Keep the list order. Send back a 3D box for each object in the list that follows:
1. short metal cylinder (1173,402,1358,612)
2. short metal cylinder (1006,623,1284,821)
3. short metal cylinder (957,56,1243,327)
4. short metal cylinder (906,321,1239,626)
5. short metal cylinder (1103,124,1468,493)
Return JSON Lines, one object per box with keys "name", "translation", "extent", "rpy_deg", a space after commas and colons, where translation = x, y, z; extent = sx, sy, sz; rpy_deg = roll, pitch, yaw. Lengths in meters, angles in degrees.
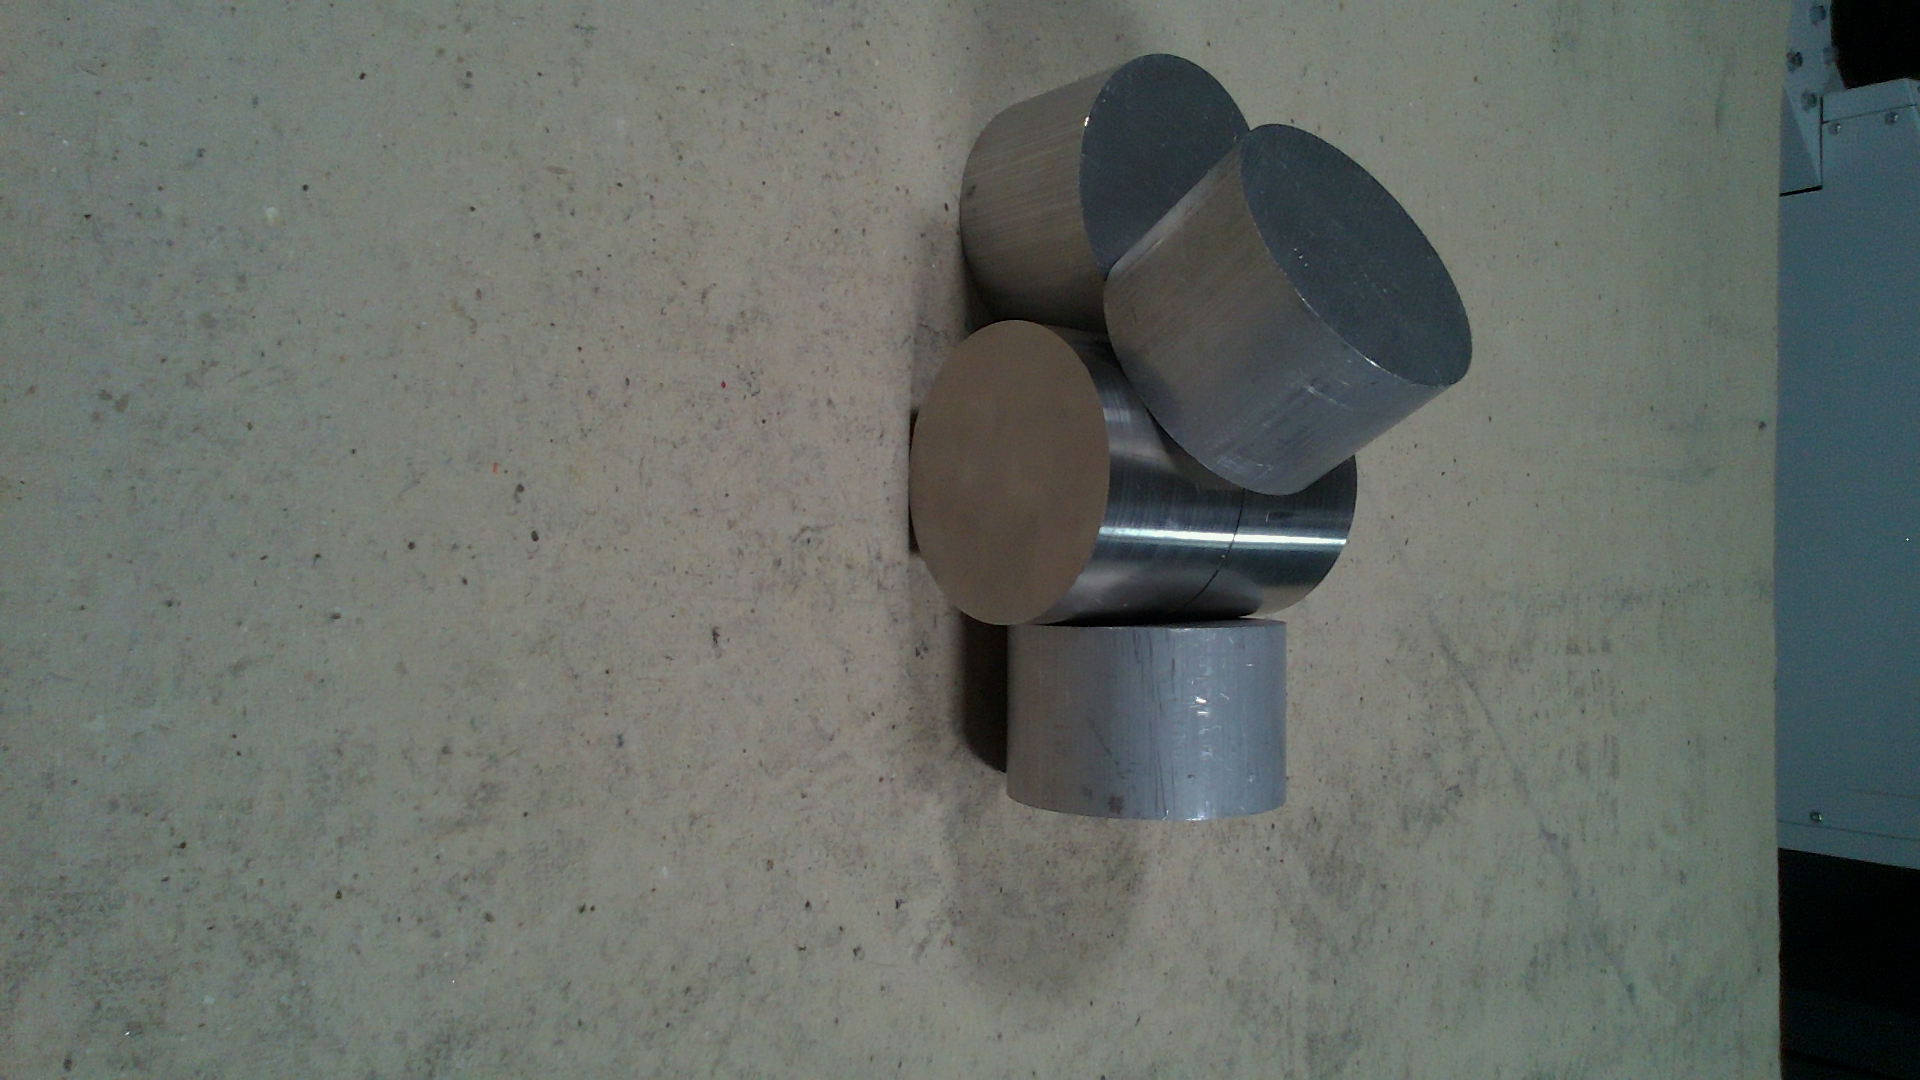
{"name": "short metal cylinder", "translation": [0.070, -0.017, 0.411], "extent": [0.050, 0.080, 0.080], "rpy_deg": [0, 90, -39]}
{"name": "short metal cylinder", "translation": [0.053, 0.048, 0.398], "extent": [0.080, 0.080, 0.050], "rpy_deg": [0, 90, -40]}
{"name": "short metal cylinder", "translation": [0.046, -0.097, 0.412], "extent": [0.080, 0.050, 0.080], "rpy_deg": [0, 90, -40]}
{"name": "short metal cylinder", "translation": [0.029, -0.017, 0.378], "extent": [0.050, 0.080, 0.080], "rpy_deg": [1, 89, -40]}
{"name": "short metal cylinder", "translation": [0.084, -0.059, 0.357], "extent": [0.080, 0.050, 0.080], "rpy_deg": [22, 49, -27]}
